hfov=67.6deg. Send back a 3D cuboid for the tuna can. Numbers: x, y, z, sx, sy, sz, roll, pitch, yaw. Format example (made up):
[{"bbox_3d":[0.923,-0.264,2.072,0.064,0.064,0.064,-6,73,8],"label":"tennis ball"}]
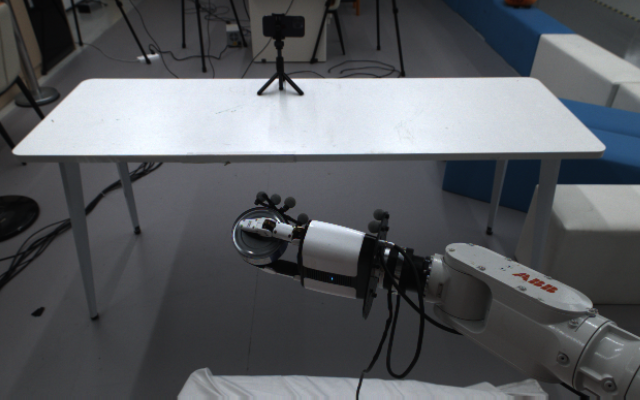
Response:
[{"bbox_3d":[-0.091,0.056,0.745,0.085,0.034,0.085,-1,60,3],"label":"tuna can"}]
